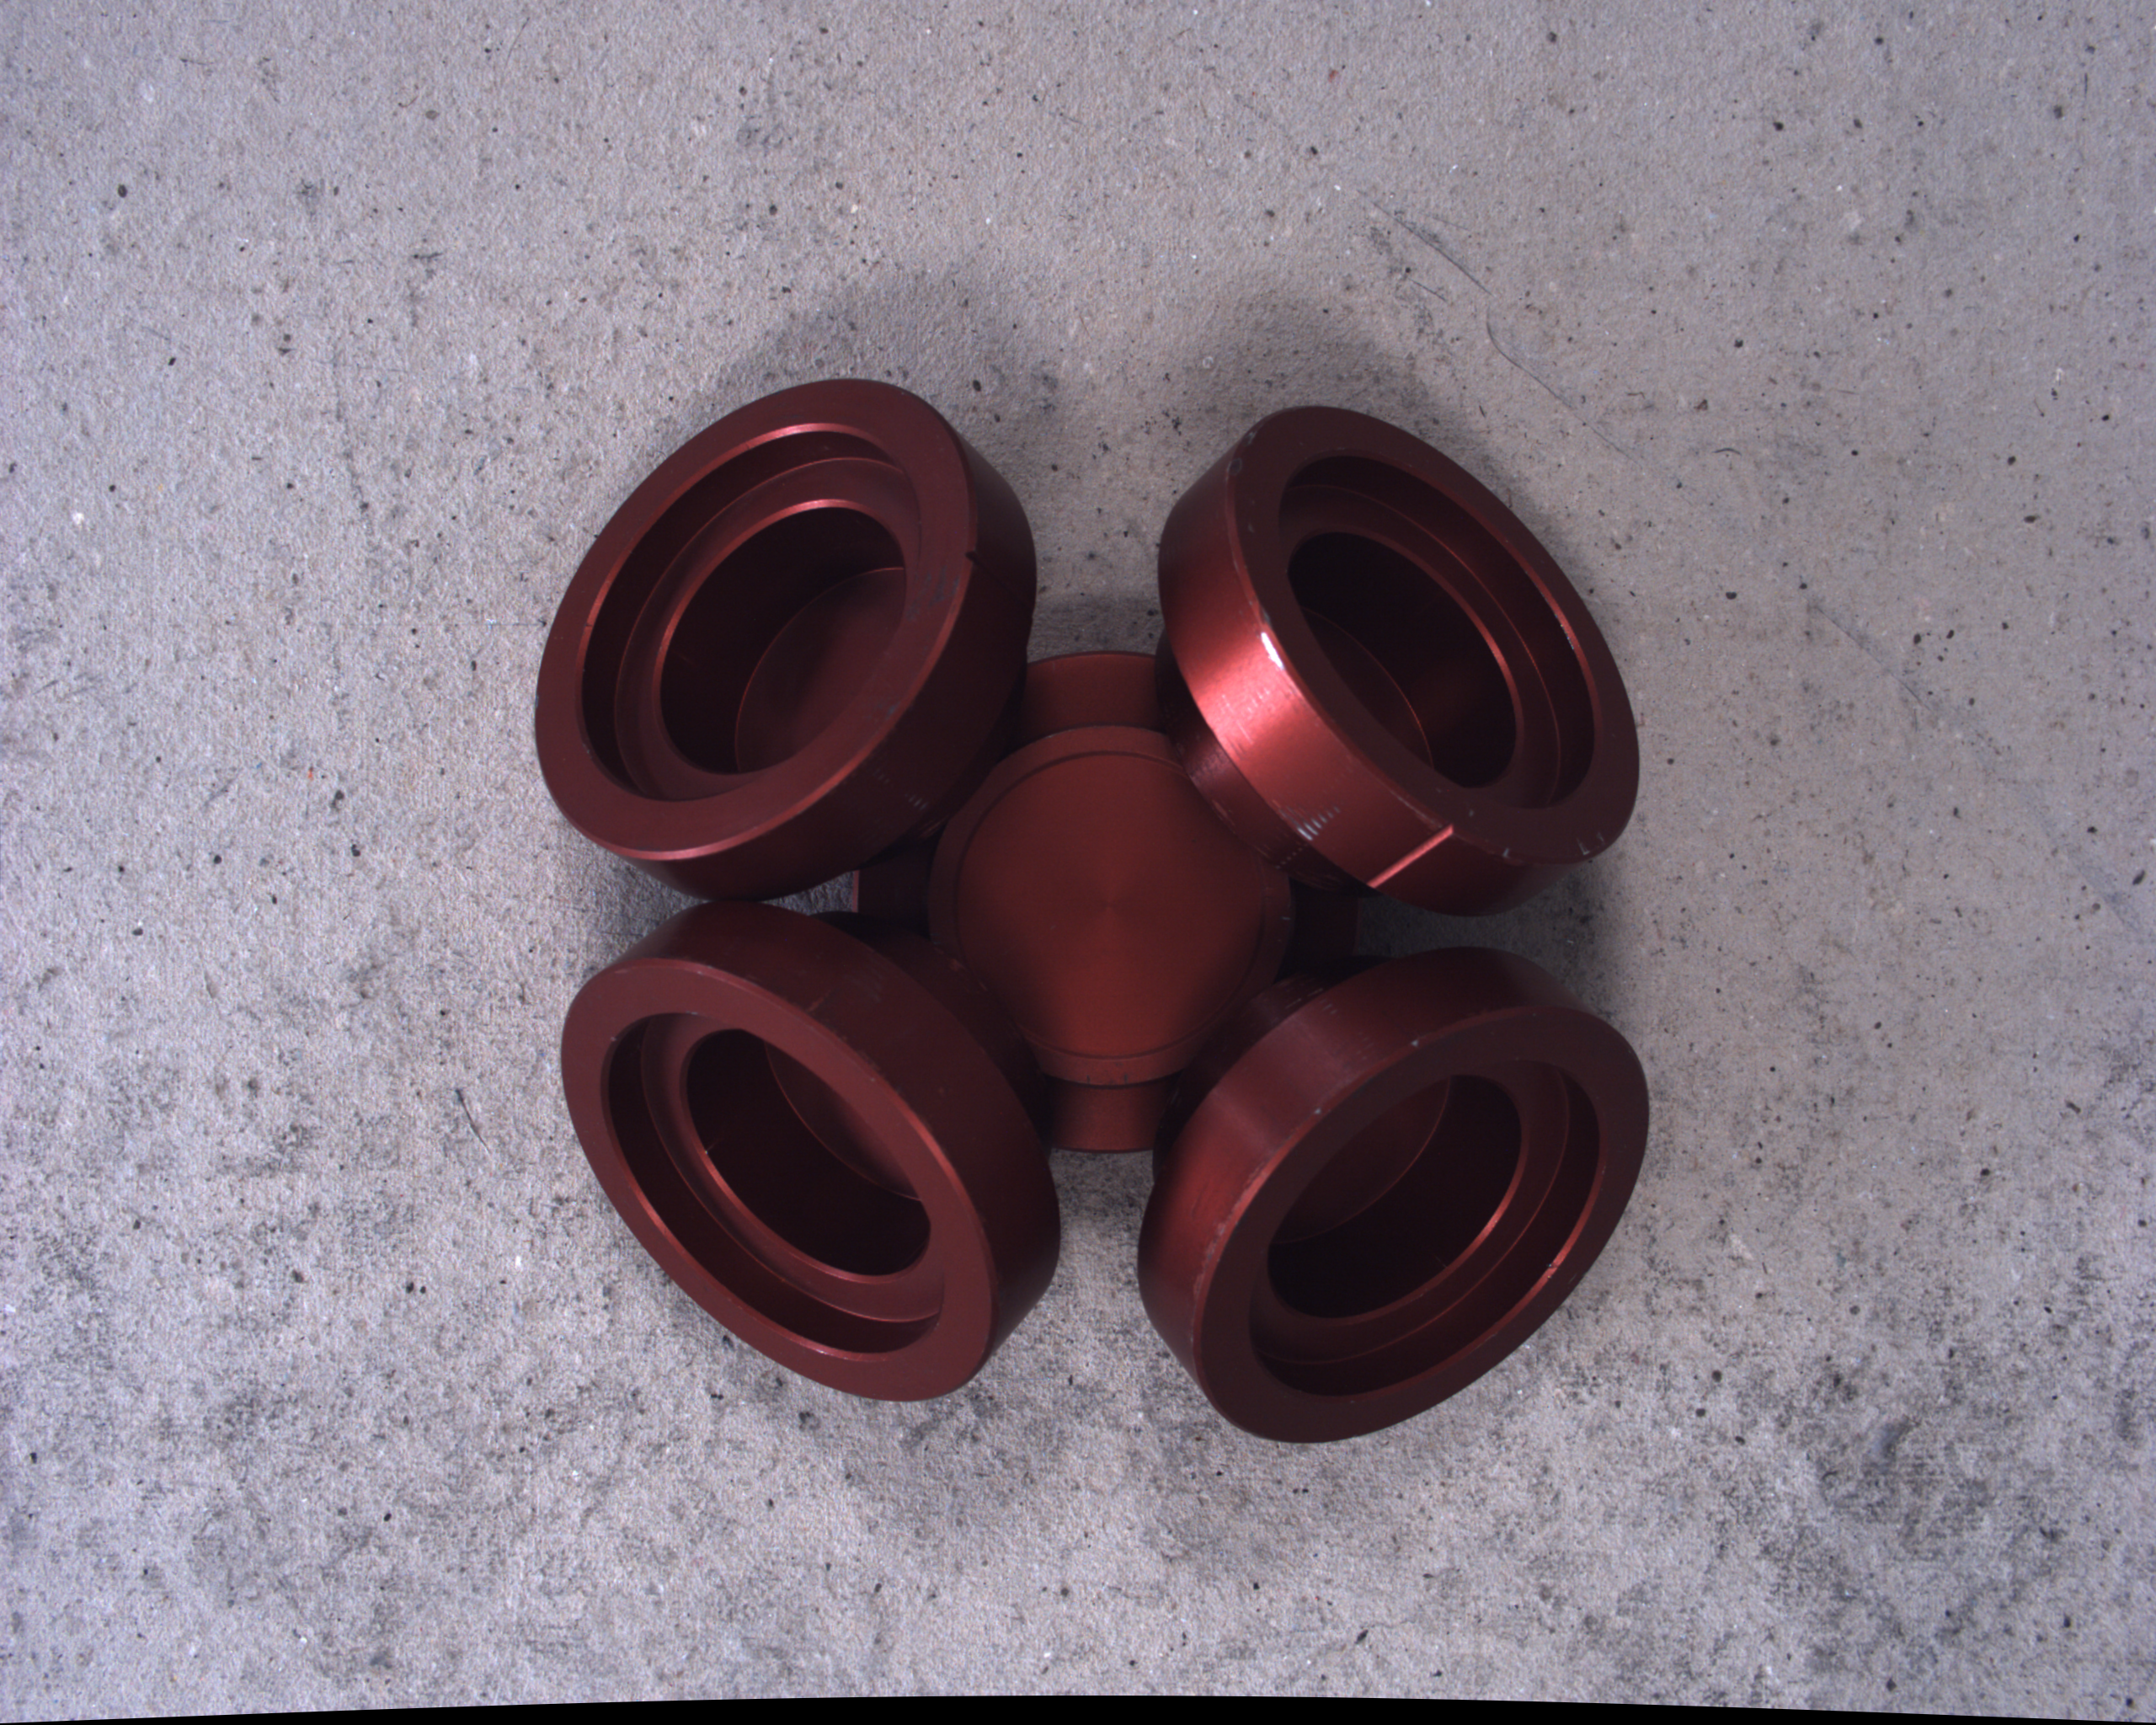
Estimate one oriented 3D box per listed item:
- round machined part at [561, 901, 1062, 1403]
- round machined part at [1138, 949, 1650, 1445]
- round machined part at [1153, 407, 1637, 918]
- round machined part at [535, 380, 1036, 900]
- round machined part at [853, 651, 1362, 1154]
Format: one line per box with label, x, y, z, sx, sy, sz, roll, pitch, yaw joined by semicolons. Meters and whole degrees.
round machined part;-0.044;0.048;0.385;0.098;0.098;0.042;46;47;0
round machined part;0.054;0.057;0.387;0.099;0.042;0.097;-17;128;-23
round machined part;0.053;-0.032;0.385;0.098;0.099;0.042;50;131;0
round machined part;-0.049;-0.037;0.386;0.098;0.042;0.098;-16;57;26
round machined part;0.006;0.008;0.402;0.099;0.042;0.097;0;88;-1
